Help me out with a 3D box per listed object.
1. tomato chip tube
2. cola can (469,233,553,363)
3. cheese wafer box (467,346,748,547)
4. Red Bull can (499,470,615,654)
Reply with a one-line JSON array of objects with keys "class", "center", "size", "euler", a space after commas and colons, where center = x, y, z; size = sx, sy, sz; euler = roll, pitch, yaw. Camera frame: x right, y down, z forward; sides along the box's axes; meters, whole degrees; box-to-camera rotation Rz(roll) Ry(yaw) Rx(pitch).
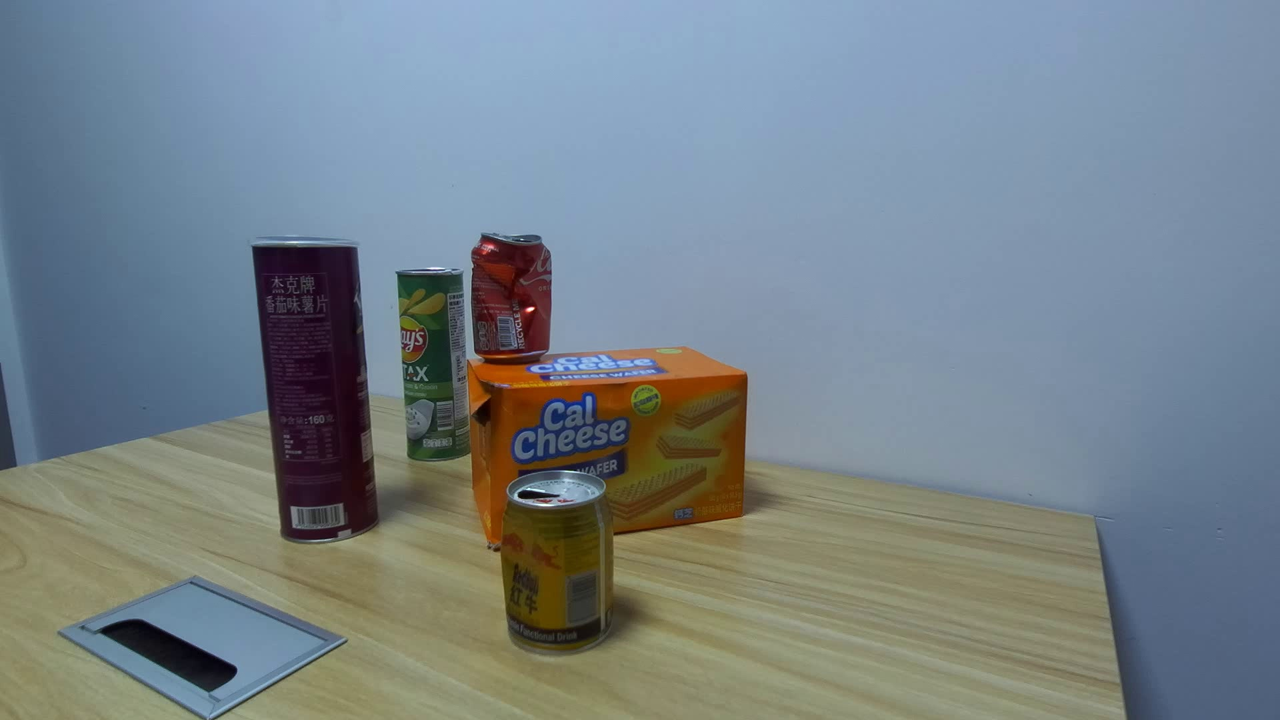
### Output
[{"class": "tomato chip tube", "center": [-0.260, 0.024, 0.569], "size": [0.078, 0.233, 0.078], "euler": [0, 10, 0]}, {"class": "cola can", "center": [-0.117, -0.056, 0.628], "size": [0.069, 0.112, 0.065], "euler": [2, 12, 0]}, {"class": "cheese wafer box", "center": [-0.035, 0.065, 0.625], "size": [0.228, 0.137, 0.149], "euler": [-4, 11, -18]}, {"class": "Red Bull can", "center": [-0.050, 0.121, 0.431], "size": [0.069, 0.092, 0.069], "euler": [1, 11, 0]}]
